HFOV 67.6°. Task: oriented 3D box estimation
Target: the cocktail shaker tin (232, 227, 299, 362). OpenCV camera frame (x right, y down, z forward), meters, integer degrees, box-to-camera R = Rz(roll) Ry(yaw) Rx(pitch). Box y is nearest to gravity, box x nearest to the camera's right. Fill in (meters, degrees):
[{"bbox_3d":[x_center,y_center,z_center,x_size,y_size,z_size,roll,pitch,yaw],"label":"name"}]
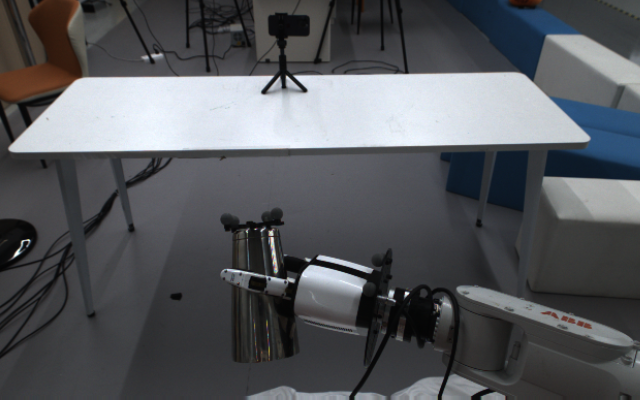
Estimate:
[{"bbox_3d":[-0.081,0.128,0.667,0.093,0.170,0.093,-6,-7,-1],"label":"cocktail shaker tin"}]
